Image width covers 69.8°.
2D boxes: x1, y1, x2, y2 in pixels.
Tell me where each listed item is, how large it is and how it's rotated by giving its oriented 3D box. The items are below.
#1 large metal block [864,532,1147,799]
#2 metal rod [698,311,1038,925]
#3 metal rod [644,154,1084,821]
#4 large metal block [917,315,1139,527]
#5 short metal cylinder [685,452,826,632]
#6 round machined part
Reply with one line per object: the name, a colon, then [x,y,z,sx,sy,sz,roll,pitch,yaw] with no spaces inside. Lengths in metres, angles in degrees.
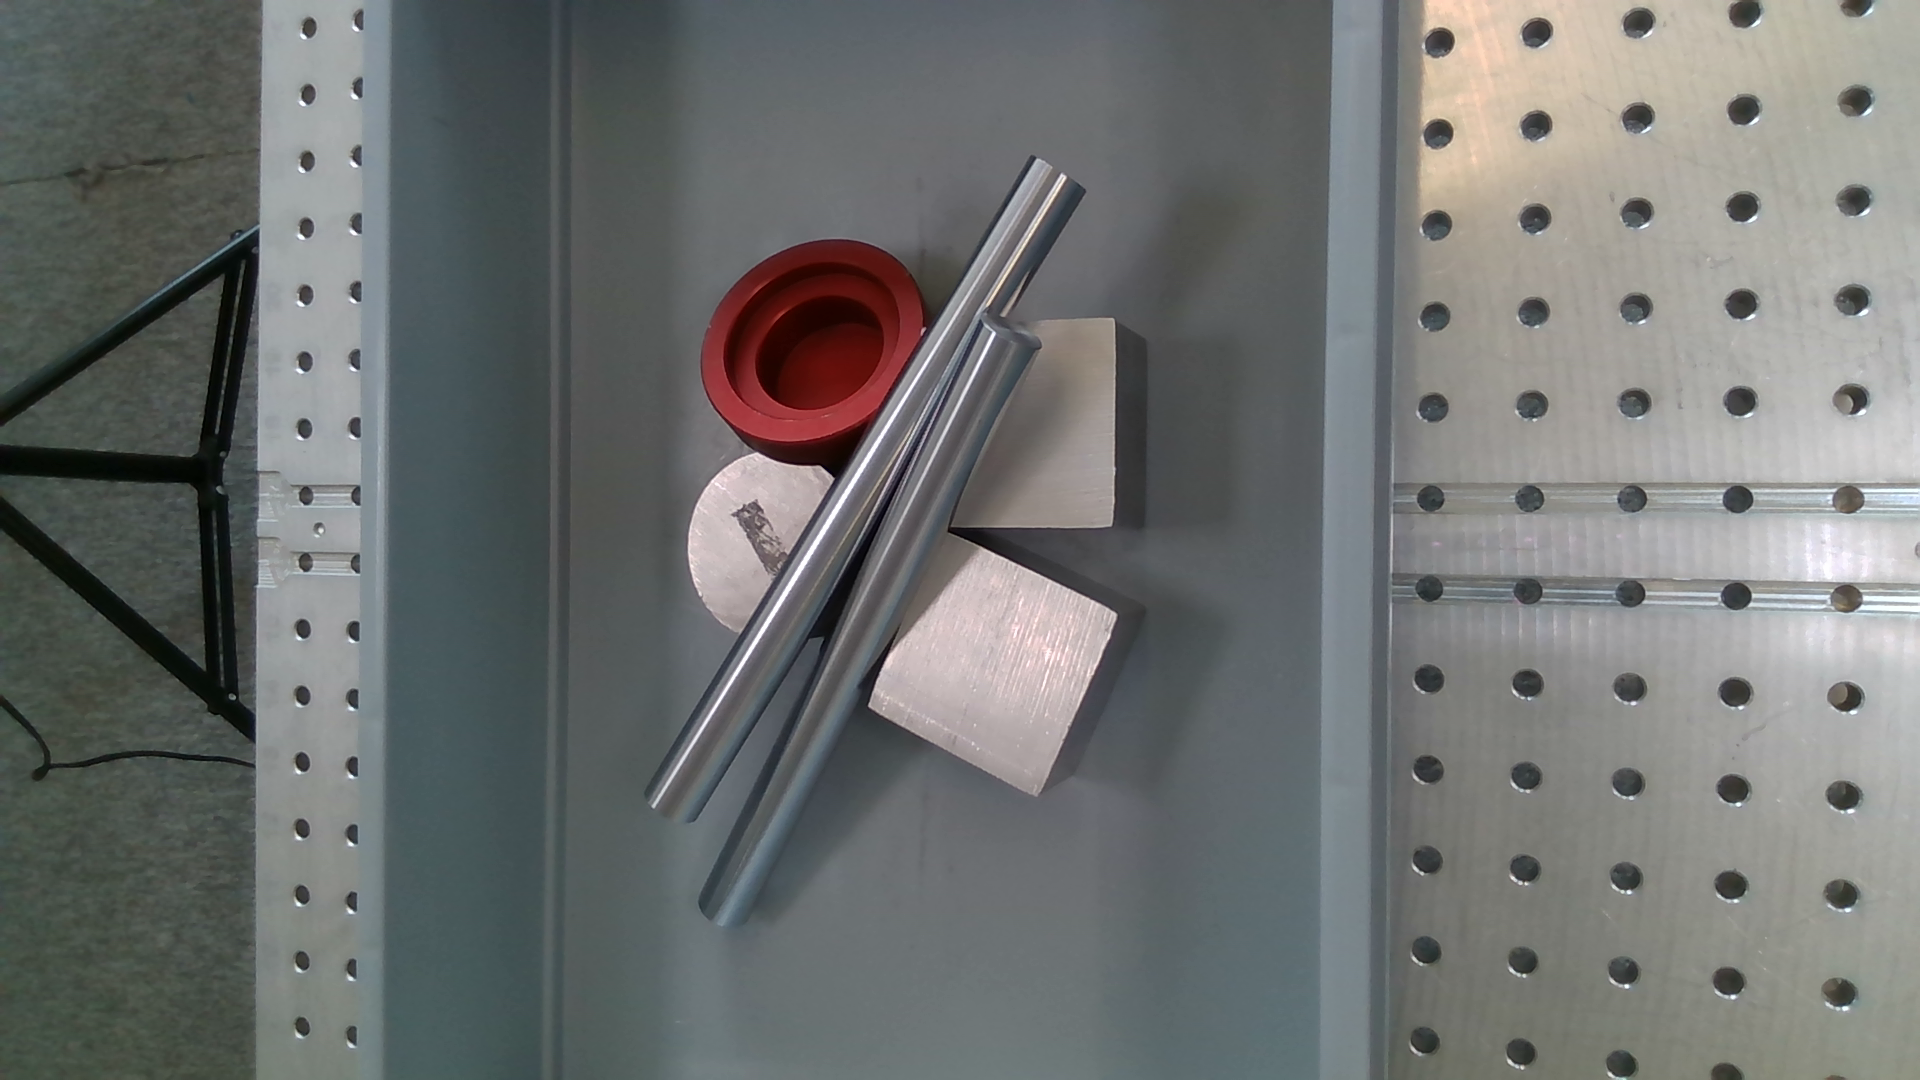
large metal block: [0.019,0.047,0.563,0.080,0.050,0.080,26,99,18]
metal rod: [-0.045,0.044,0.562,0.025,0.025,0.301,35,116,17]
metal rod: [-0.043,-0.013,0.546,0.025,0.025,0.300,36,103,16]
large metal block: [0.029,-0.045,0.557,0.080,0.050,0.080,1,91,20]
short metal cylinder: [-0.071,0.002,0.597,0.080,0.050,0.080,0,91,20]
round machined part: [-0.057,-0.075,0.584,0.098,0.042,0.098,-6,65,14]
